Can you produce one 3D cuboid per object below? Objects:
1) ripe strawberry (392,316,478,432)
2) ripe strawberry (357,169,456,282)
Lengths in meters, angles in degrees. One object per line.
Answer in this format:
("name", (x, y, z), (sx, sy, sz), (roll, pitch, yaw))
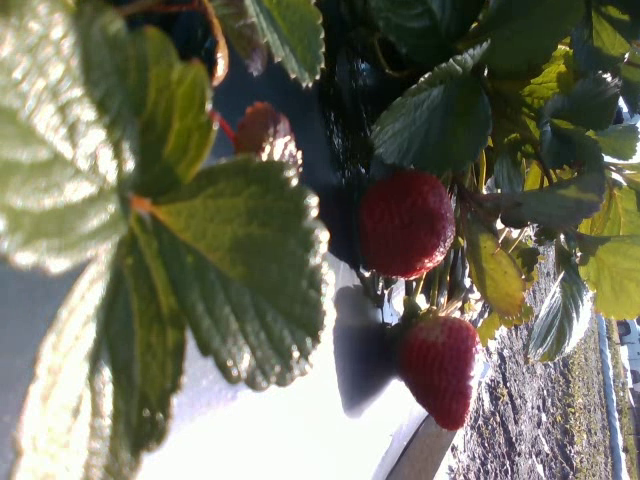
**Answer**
("ripe strawberry", (0.055, 0.057, 0.258), (0.038, 0.053, 0.043), (-8, -35, -3))
("ripe strawberry", (0.035, -0.005, 0.232), (0.039, 0.048, 0.054), (27, -3, -5))
